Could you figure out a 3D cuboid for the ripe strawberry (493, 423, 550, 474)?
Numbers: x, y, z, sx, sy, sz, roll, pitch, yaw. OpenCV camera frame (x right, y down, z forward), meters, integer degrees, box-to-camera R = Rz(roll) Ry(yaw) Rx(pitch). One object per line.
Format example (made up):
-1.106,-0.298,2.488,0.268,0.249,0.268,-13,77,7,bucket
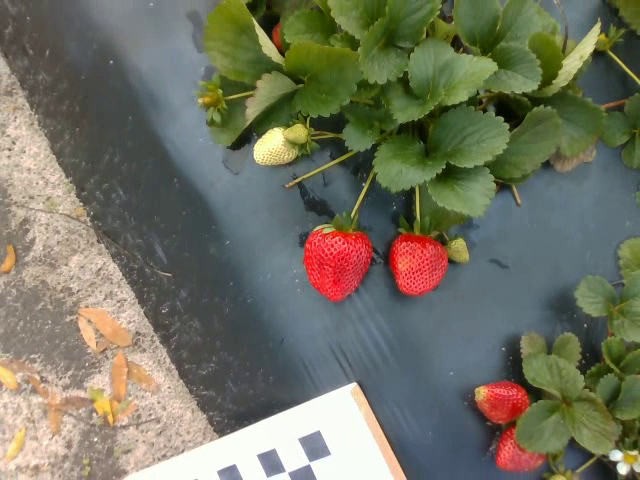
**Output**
0.154,0.169,0.482,0.049,0.044,0.041,-27,-7,-37,ripe strawberry

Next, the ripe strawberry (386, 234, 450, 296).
0.078,0.023,0.503,0.050,0.060,0.051,-2,-40,30,ripe strawberry

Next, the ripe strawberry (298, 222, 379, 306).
0.012,0.022,0.504,0.058,0.065,0.043,4,-6,29,ripe strawberry

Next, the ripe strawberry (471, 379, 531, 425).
0.142,0.128,0.493,0.053,0.047,0.039,28,29,-17,ripe strawberry
